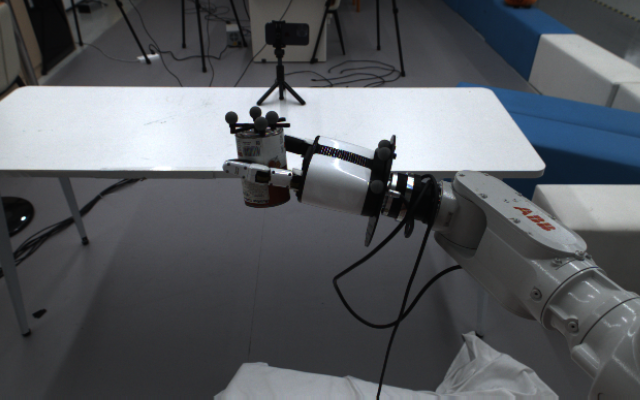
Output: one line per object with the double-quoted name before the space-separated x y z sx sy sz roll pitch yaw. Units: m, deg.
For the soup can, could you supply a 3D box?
"soup can" -0.078 -0.047 0.670 0.067 0.101 0.067 -4 21 2
